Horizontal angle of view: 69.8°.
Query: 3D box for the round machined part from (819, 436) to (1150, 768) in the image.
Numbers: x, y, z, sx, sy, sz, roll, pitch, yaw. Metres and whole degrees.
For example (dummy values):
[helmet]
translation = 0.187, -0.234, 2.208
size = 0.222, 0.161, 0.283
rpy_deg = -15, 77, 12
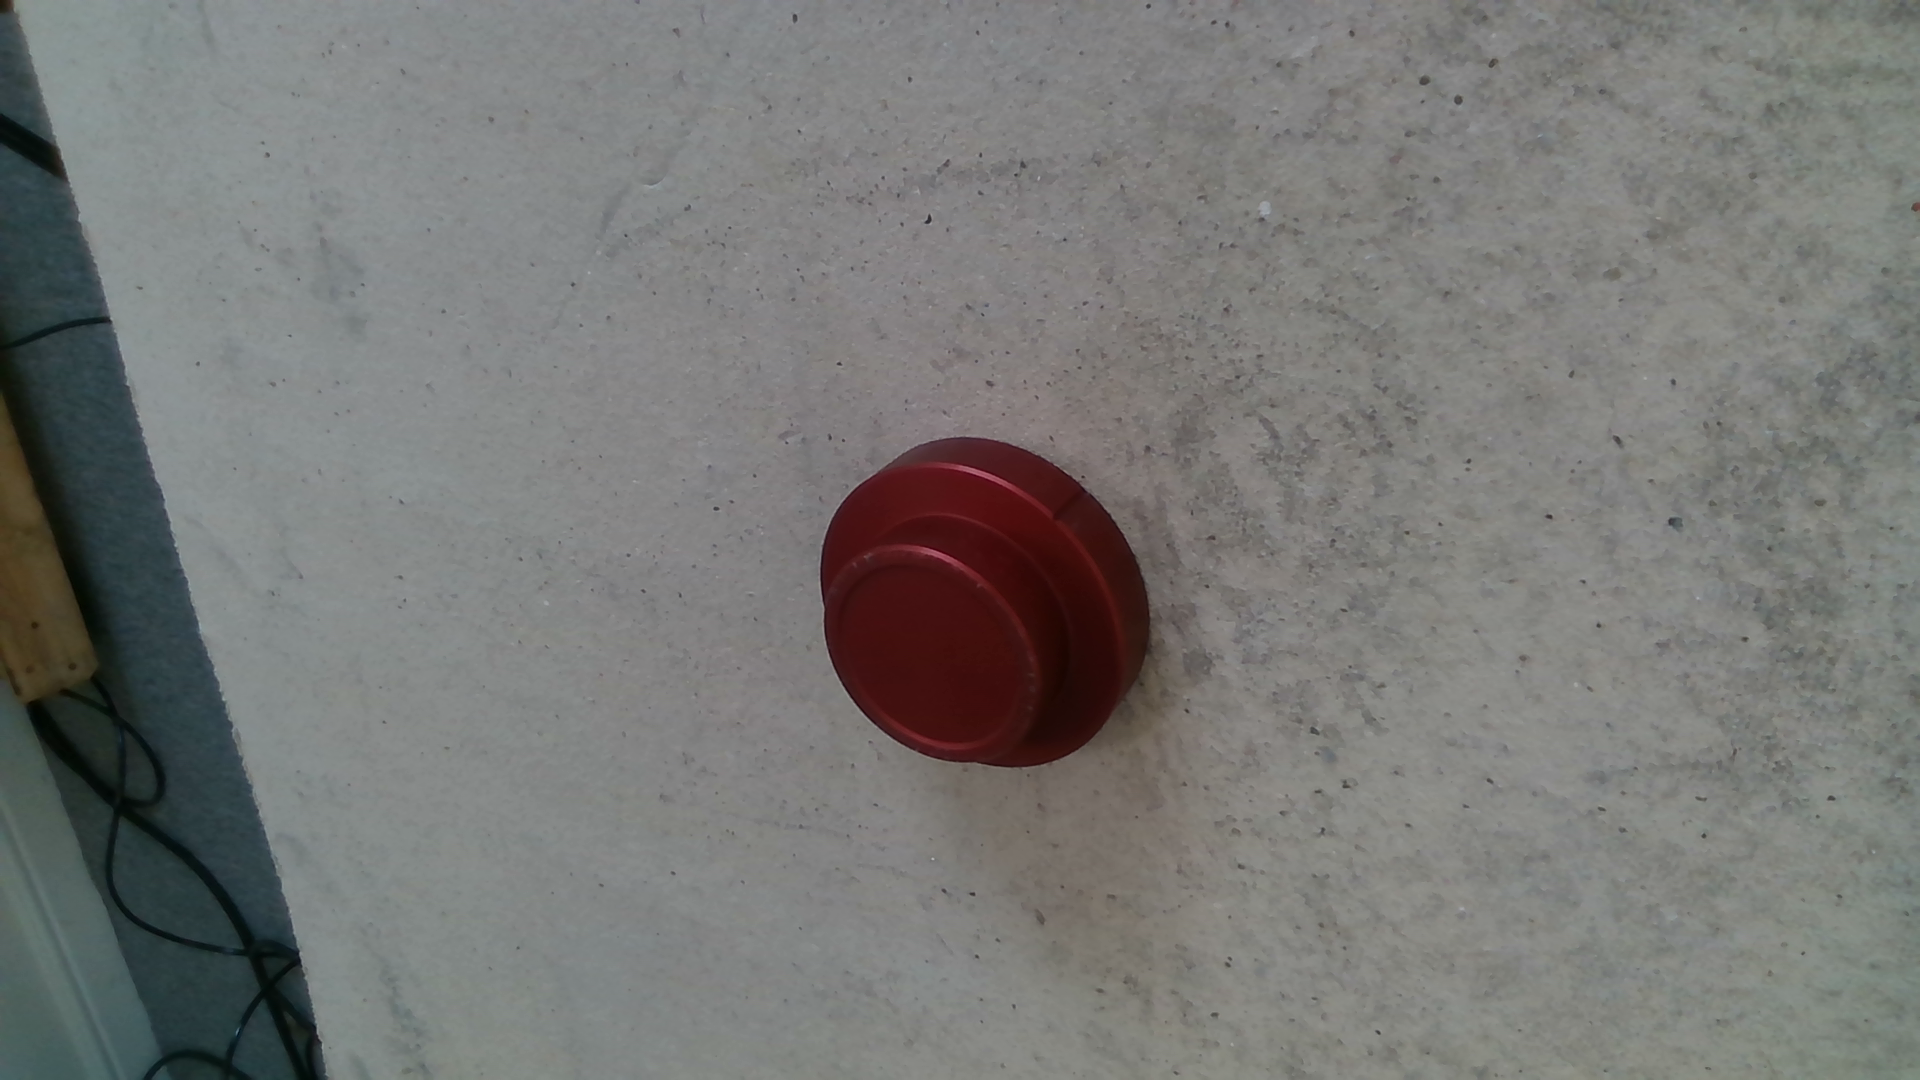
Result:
[round machined part]
translation = 0.001, 0.024, 0.390
size = 0.098, 0.042, 0.098
rpy_deg = 14, 122, 25
